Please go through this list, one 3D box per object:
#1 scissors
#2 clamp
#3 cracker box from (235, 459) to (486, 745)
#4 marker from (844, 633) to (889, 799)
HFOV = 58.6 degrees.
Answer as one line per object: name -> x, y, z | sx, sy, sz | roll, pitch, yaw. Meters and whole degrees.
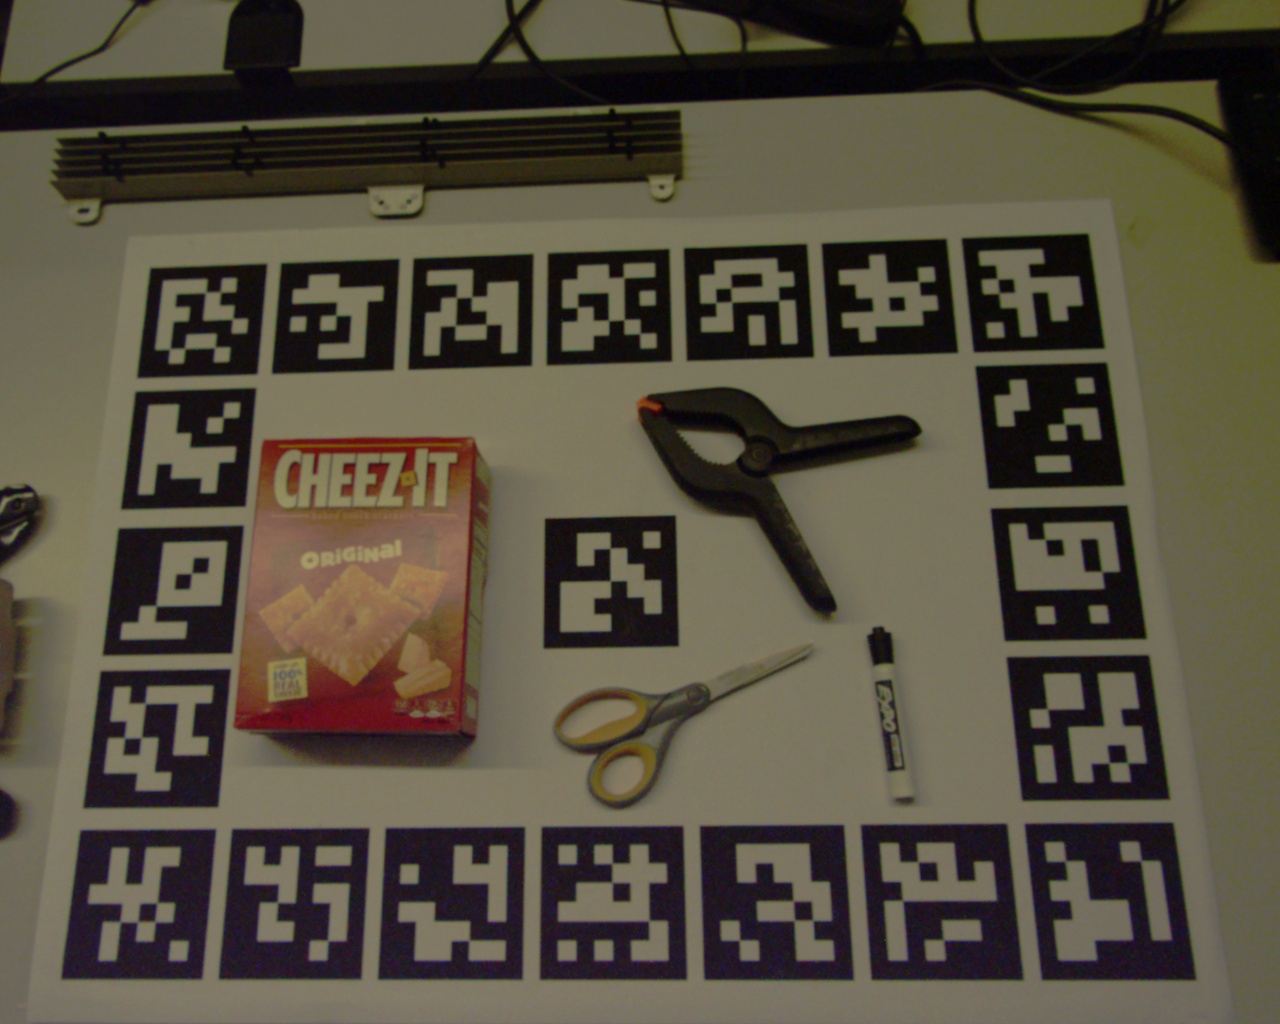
scissors -> 0.025, 0.148, 0.856 | 0.202, 0.016, 0.088 | -29, 72, -7
clamp -> 0.074, -0.032, 0.913 | 0.204, 0.036, 0.165 | 28, 76, 11
cracker box -> -0.209, 0.068, 0.871 | 0.164, 0.072, 0.214 | 0, 73, 4
marker -> 0.167, 0.150, 0.844 | 0.020, 0.019, 0.121 | -5, 72, 2
